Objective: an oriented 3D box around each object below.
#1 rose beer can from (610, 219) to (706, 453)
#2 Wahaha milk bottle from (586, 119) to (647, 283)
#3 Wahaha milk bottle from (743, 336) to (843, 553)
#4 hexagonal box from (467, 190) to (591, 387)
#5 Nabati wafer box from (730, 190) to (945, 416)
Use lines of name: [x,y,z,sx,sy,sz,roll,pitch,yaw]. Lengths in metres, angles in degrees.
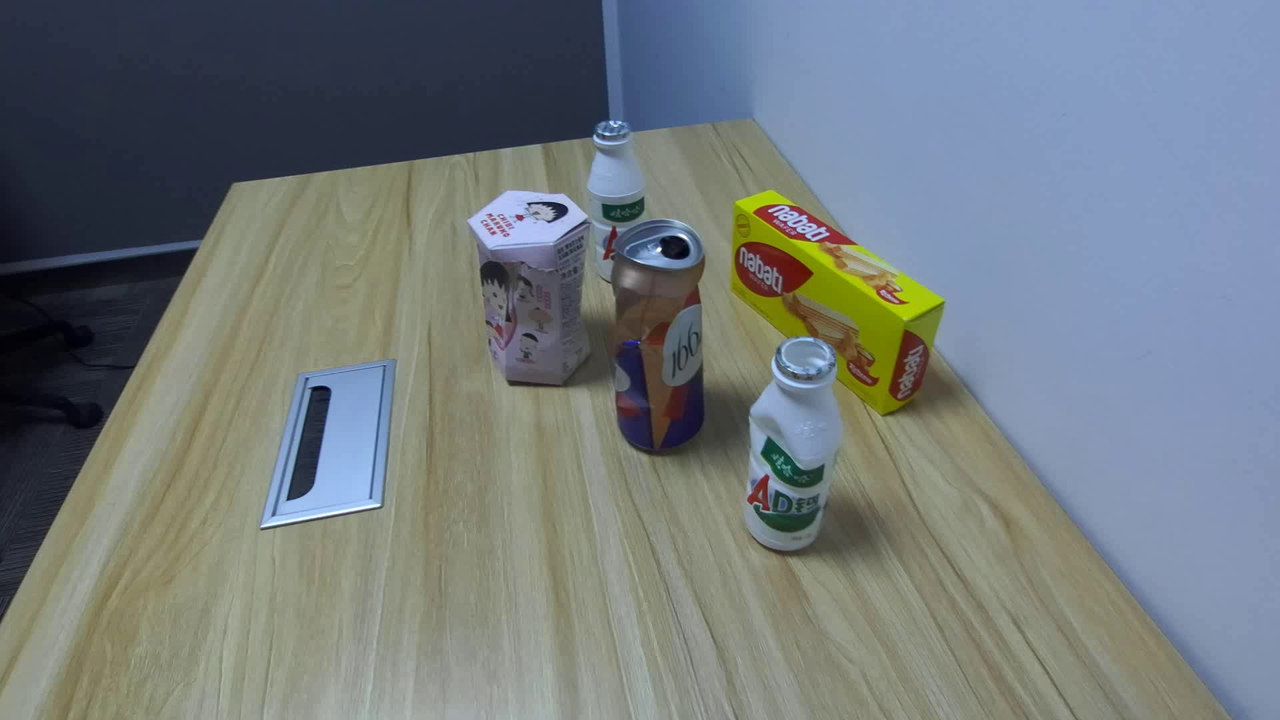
rose beer can: [0.012,-0.012,0.481,0.068,0.162,0.073,-10,43,-8]
Wahaha milk bottle: [-0.020,-0.142,0.642,0.053,0.147,0.053,0,42,1]
Wahaha milk bottle: [0.088,0.051,0.412,0.056,0.148,0.056,-2,43,2]
hexagonal box: [-0.081,-0.056,0.562,0.090,0.135,0.091,7,41,8]
Nabati wafer box: [0.147,-0.052,0.571,0.042,0.093,0.202,-22,44,-21]
